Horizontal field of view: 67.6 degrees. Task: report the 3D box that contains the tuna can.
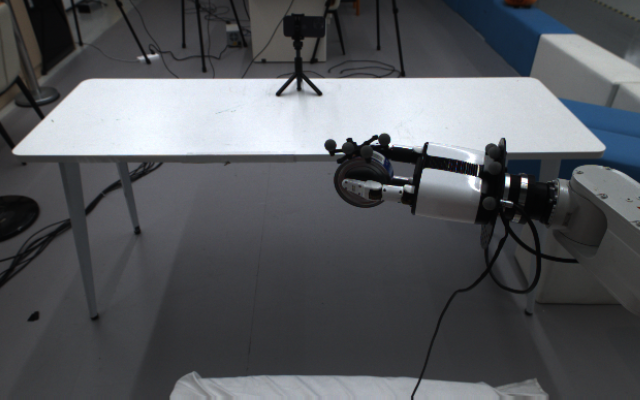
[{"bbox_3d":[0.067,-0.033,0.720,0.085,0.085,0.034,10,33,11],"label":"tuna can"}]
